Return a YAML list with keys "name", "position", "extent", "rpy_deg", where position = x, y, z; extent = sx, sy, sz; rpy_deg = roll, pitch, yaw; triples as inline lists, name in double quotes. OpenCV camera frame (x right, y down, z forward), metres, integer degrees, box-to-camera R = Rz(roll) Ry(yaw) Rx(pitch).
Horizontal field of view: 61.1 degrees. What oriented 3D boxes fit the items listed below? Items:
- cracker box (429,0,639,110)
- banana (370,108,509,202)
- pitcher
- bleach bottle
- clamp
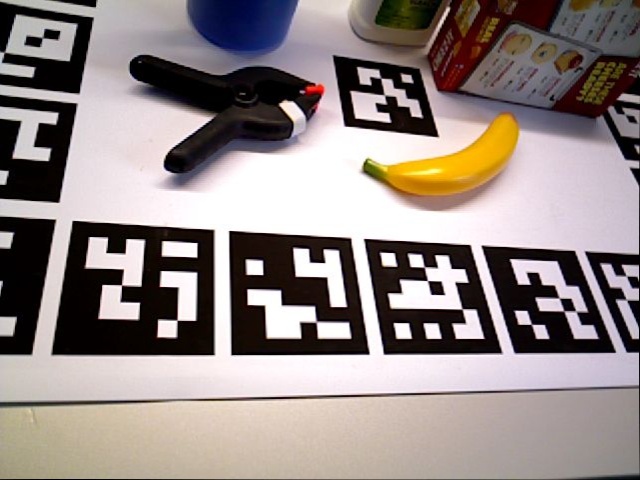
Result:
- name: "cracker box"
  position: [0.246, -0.229, 0.557]
  extent: [0.211, 0.168, 0.071]
  rpy_deg: [2, 54, -15]
- name: "banana"
  position: [0.136, -0.082, 0.533]
  extent: [0.193, 0.040, 0.074]
  rpy_deg: [-33, 71, -32]
- name: "pitcher"
  position: [-0.070, -0.293, 0.440]
  extent: [0.185, 0.249, 0.132]
  rpy_deg: [-15, 62, -29]
- name: "bleach bottle"
  position: [0.096, -0.311, 0.529]
  extent: [0.101, 0.257, 0.067]
  rpy_deg: [1, 56, -17]
- name: "clamp"
  position: [-0.073, -0.112, 0.477]
  extent: [0.162, 0.037, 0.121]
  rpy_deg: [-13, 61, -27]
